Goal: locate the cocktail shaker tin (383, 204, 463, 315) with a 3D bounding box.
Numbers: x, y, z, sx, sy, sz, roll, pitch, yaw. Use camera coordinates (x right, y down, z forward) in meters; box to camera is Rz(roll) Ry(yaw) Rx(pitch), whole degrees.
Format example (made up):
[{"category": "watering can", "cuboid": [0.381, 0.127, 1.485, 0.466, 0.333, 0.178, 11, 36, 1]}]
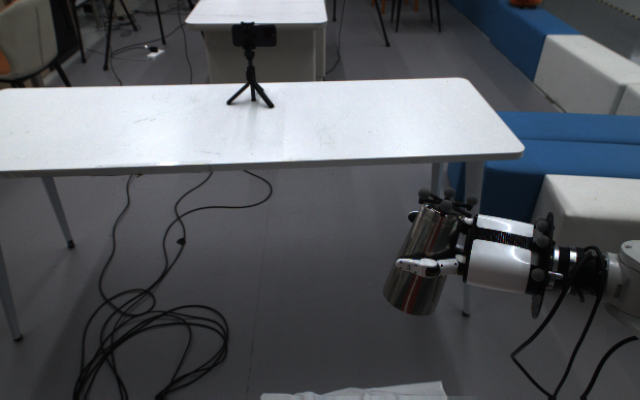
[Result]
[{"category": "cocktail shaker tin", "cuboid": [0.170, 0.084, 0.766, 0.093, 0.170, 0.093, 12, 24, -5]}]
